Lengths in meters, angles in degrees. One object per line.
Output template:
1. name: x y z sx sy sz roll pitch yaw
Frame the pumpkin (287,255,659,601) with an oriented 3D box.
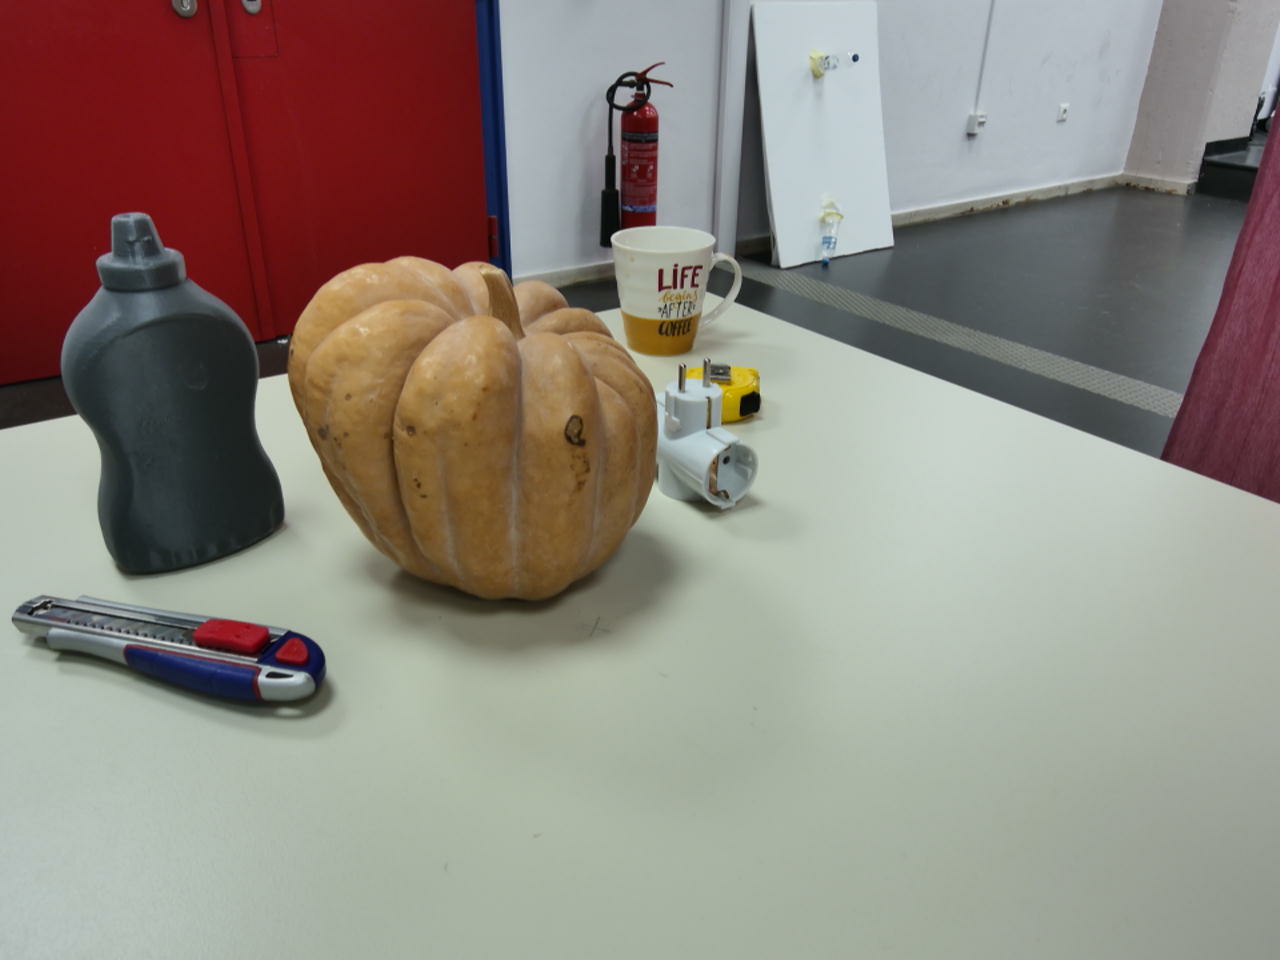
1. pumpkin: -0.085 -0.029 0.535 0.199 0.177 0.198 1 26 -1
